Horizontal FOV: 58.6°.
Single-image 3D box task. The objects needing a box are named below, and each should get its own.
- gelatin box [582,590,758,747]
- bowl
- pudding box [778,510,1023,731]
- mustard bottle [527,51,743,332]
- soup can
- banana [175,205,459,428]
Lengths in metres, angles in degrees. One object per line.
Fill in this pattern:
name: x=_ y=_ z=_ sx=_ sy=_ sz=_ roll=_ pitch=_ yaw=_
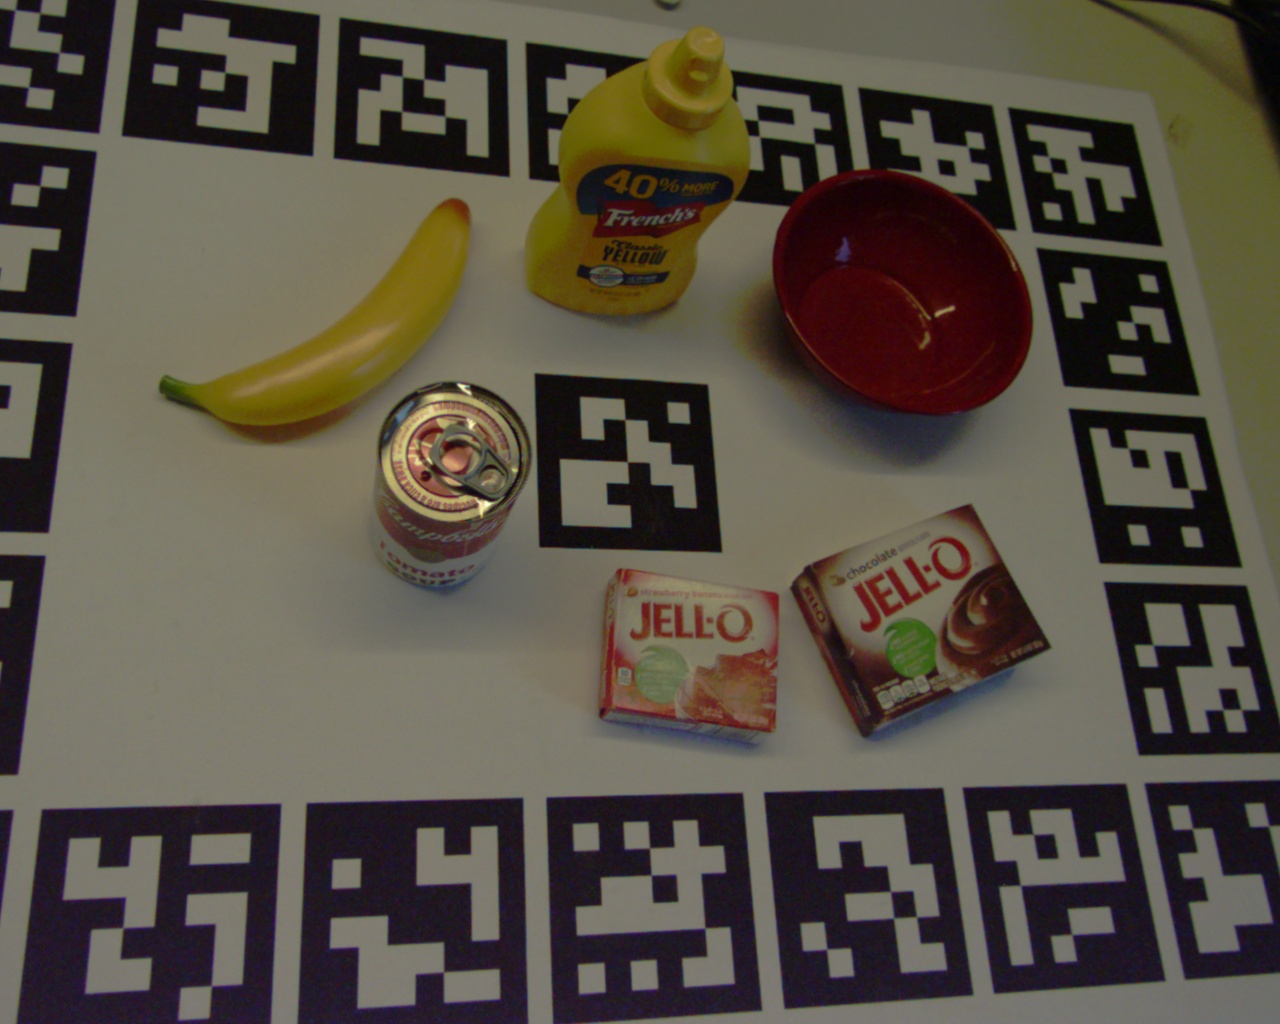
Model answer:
gelatin box: x=0.017 y=0.084 z=0.614 sx=0.089 sy=0.030 sz=0.073 roll=9 pitch=71 yaw=-11
bowl: x=0.146 y=-0.118 z=0.714 sx=0.161 sy=0.055 sz=0.162 roll=4 pitch=68 yaw=-12
pudding box: x=0.148 y=0.061 z=0.651 sx=0.113 sy=0.039 sz=0.090 roll=-22 pitch=82 yaw=-21
mustard bottle: x=0.002 y=-0.168 z=0.606 sx=0.095 sy=0.192 sz=0.058 roll=3 pitch=67 yaw=-15
soup can: x=-0.104 y=-0.012 z=0.570 sx=0.067 sy=0.102 sz=0.068 roll=6 pitch=67 yaw=-15
banana: x=-0.160 y=-0.105 z=0.637 sx=0.075 sy=0.039 sz=0.196 roll=37 pitch=64 yaw=12
